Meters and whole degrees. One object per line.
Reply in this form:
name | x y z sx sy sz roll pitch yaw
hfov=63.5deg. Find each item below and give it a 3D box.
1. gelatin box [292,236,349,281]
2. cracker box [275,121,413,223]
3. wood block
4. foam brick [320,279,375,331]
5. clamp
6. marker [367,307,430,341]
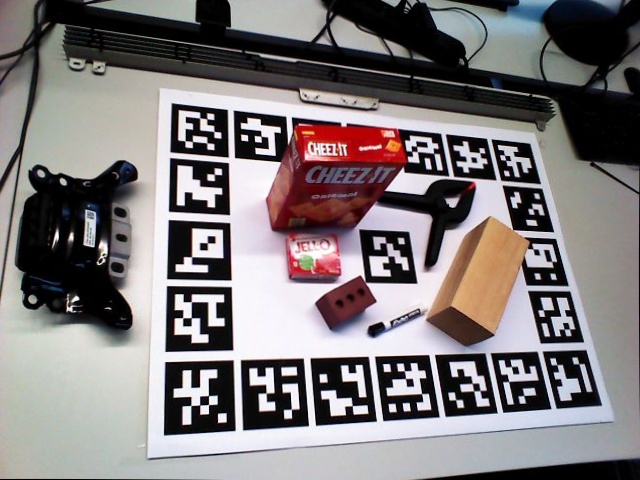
gelatin box | 0.000 0.031 0.864 0.089 0.030 0.073 1 71 -18
cracker box | 0.037 -0.097 0.814 0.164 0.215 0.071 -1 69 -21
wood block | 0.290 0.076 0.911 0.090 0.091 0.205 34 60 -1
foam brick | 0.049 0.104 0.836 0.078 0.052 0.052 -23 80 -25
clamp | 0.236 -0.058 0.971 0.202 0.037 0.165 -30 82 -26
marker | 0.132 0.141 0.866 0.120 0.020 0.019 -18 78 -24
